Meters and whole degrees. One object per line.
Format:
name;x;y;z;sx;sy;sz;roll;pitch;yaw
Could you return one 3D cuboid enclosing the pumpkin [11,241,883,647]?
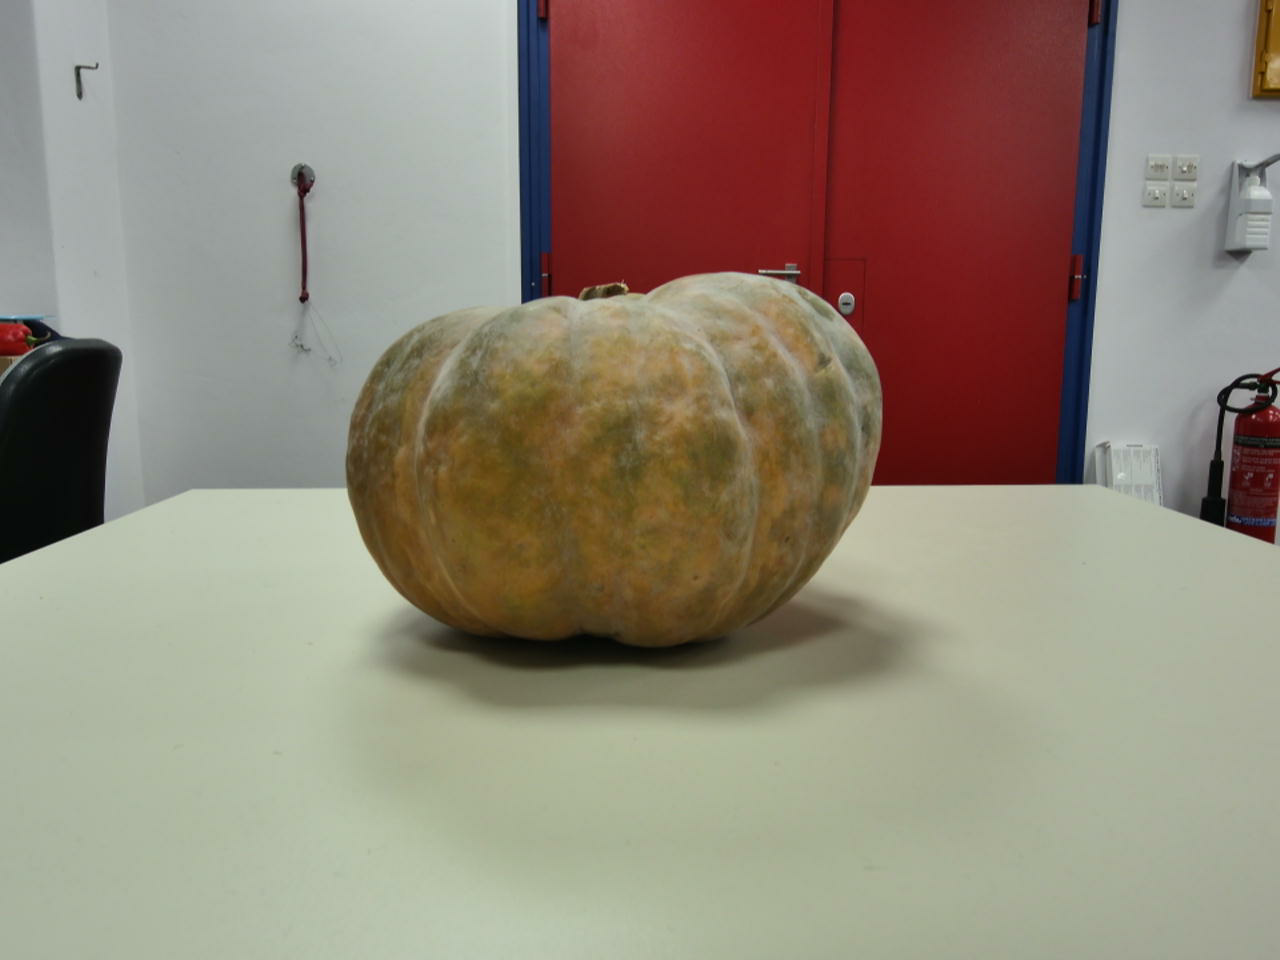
pumpkin;-0.017;-0.014;0.483;0.252;0.168;0.252;0;7;0
